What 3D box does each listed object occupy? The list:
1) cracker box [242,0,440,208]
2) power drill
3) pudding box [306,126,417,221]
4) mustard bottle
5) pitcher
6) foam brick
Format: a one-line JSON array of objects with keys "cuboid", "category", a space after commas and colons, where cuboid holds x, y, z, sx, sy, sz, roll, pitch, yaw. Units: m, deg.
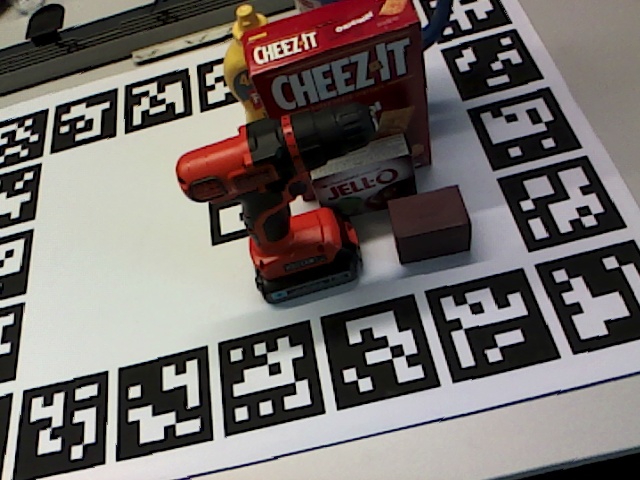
[{"cuboid": [0.032, -0.139, 0.660, 0.164, 0.212, 0.072, -17, 55, 7], "category": "cracker box"}, {"cuboid": [-0.023, -0.039, 0.594, 0.185, 0.186, 0.057, -15, 53, 5], "category": "power drill"}, {"cuboid": [0.043, -0.070, 0.678, 0.114, 0.089, 0.039, -14, 55, 9], "category": "pudding box"}, {"cuboid": [-0.065, -0.200, 0.730, 0.096, 0.190, 0.058, -2, 60, 13], "category": "mustard bottle"}, {"cuboid": [0.061, -0.238, 0.706, 0.189, 0.241, 0.133, -9, 57, 11], "category": "pitcher"}, {"cuboid": [0.115, -0.014, 0.663, 0.078, 0.051, 0.053, -12, 59, 8], "category": "foam brick"}]
